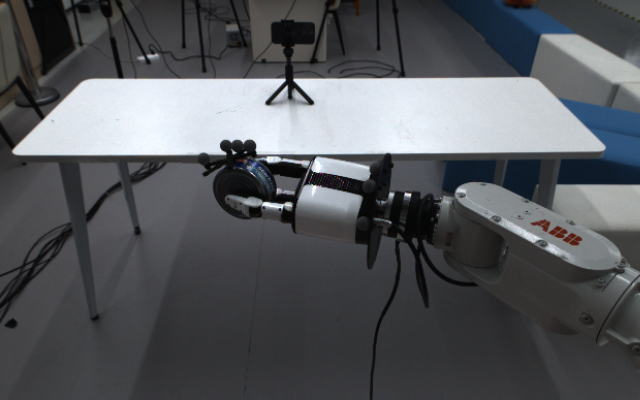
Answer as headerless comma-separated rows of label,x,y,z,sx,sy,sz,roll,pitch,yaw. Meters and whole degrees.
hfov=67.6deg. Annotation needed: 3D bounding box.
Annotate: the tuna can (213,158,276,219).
tuna can,-0.104,-0.010,0.684,0.085,0.085,0.034,11,34,13
